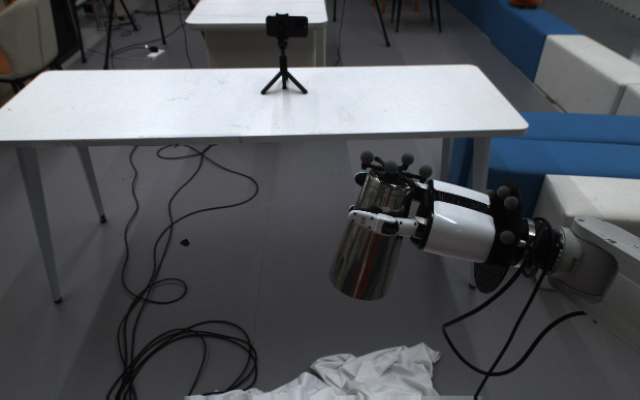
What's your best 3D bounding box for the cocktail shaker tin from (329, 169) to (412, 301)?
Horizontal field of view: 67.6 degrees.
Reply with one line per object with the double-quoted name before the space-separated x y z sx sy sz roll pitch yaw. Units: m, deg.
"cocktail shaker tin" 0.080 0.041 0.682 0.093 0.170 0.093 12 25 -6
